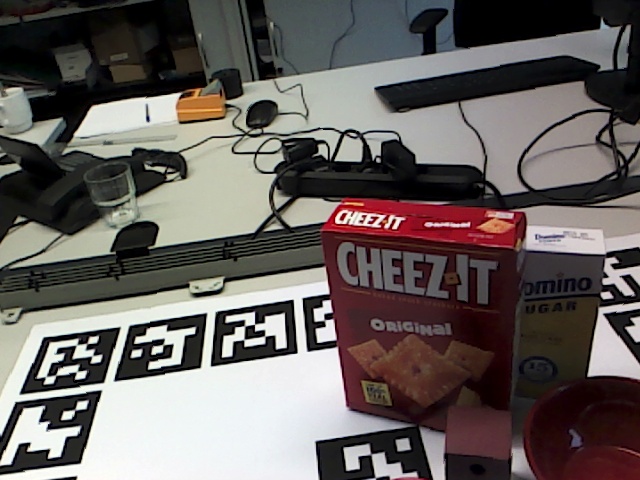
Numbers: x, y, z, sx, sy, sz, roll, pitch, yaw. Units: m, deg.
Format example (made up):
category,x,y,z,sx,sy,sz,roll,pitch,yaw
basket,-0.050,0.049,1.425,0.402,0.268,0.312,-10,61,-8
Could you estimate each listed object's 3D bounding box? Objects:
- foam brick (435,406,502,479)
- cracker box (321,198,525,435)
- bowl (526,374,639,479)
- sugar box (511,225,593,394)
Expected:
category,x,y,z,sx,sy,sz,roll,pitch,yaw
foam brick,0.126,0.189,0.526,0.053,0.078,0.051,-1,32,14
cracker box,0.094,0.078,0.575,0.165,0.213,0.072,9,33,25
bowl,0.249,0.185,0.496,0.162,0.055,0.162,-6,33,4
sugar box,0.204,0.070,0.594,0.093,0.176,0.045,3,33,19
